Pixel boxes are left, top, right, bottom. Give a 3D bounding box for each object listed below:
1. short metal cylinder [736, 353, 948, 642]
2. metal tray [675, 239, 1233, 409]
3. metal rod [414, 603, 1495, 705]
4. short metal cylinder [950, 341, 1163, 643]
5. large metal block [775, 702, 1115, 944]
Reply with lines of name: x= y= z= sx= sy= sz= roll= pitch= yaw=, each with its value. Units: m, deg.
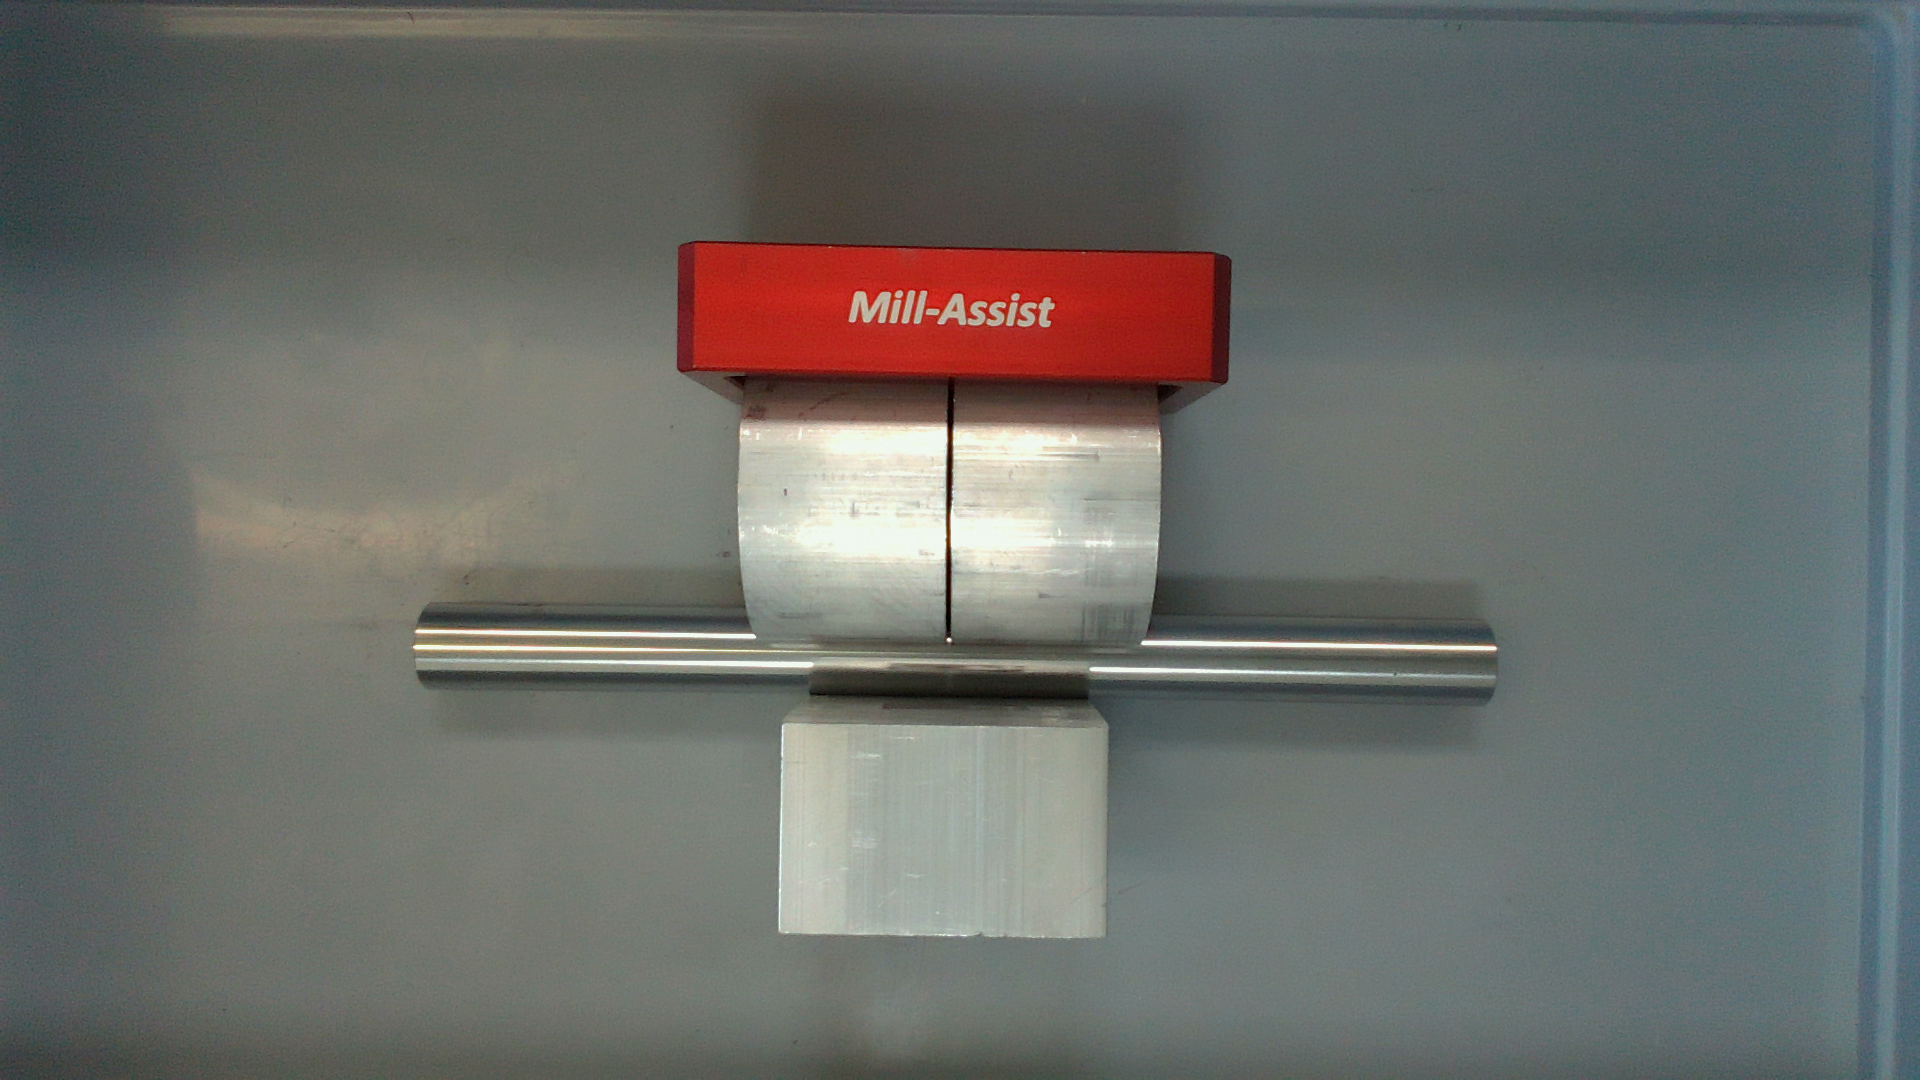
short metal cylinder: x=-0.028 y=-0.013 z=0.367 sx=0.050 sy=0.080 sz=0.080 roll=1 pitch=90 yaw=0
metal tray: x=-0.001 y=-0.053 z=0.361 sx=0.130 sy=0.090 sz=0.030 roll=1 pitch=90 yaw=0
metal rod: x=-0.001 y=0.033 z=0.394 sx=0.300 sy=0.025 sz=0.025 roll=1 pitch=90 yaw=0
short metal cylinder: x=0.024 y=-0.013 z=0.368 sx=0.050 sy=0.080 sz=0.080 roll=2 pitch=90 yaw=0
large metal block: x=-0.003 y=0.070 z=0.366 sx=0.080 sy=0.080 sz=0.050 roll=1 pitch=90 yaw=0
